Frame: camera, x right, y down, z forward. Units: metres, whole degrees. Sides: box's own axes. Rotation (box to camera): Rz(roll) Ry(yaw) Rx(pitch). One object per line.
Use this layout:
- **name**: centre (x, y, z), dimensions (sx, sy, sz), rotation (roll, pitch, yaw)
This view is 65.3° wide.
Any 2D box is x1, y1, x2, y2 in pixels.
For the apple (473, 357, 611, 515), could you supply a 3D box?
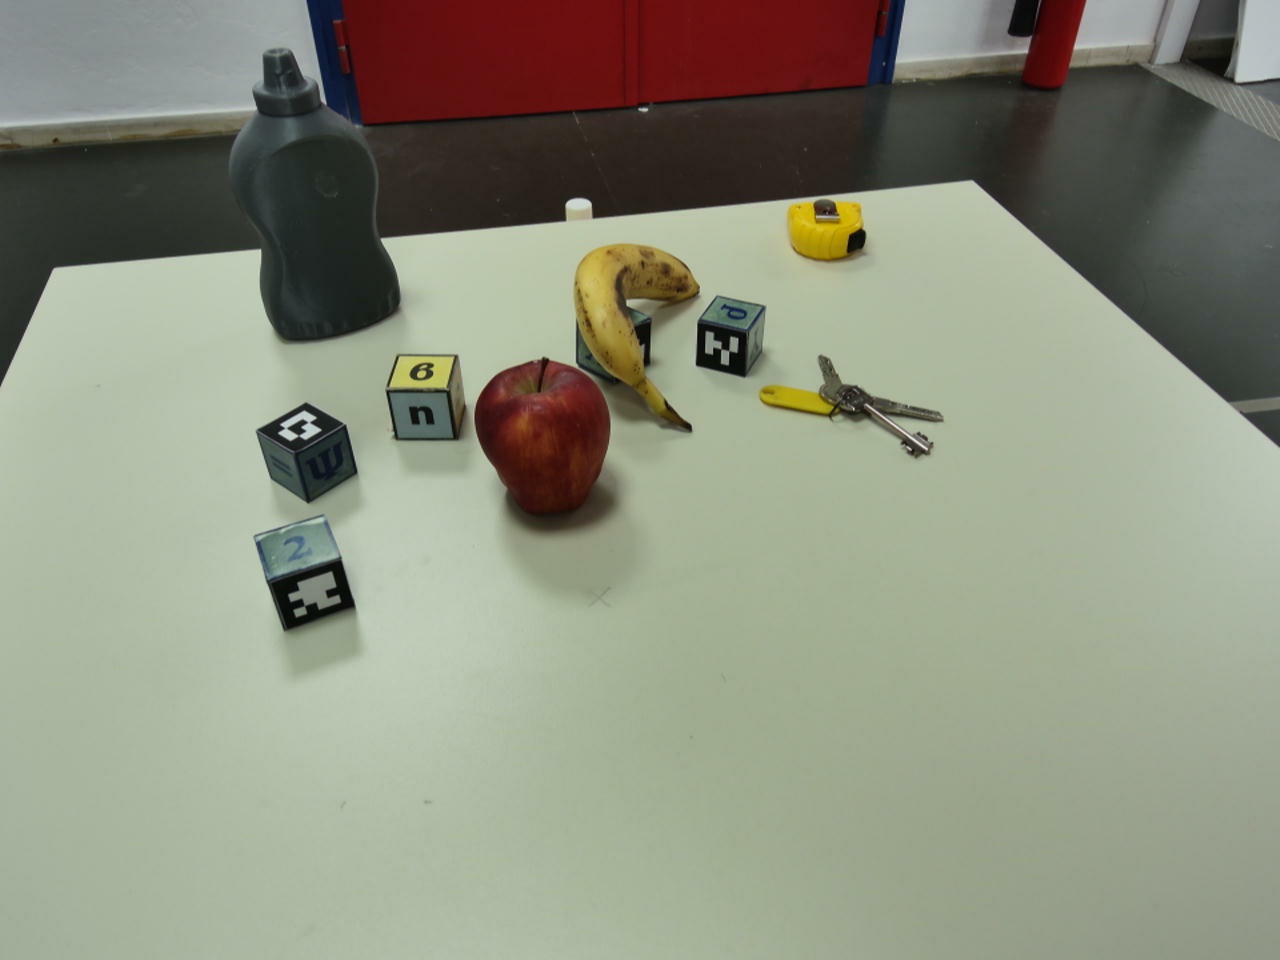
- **apple**: centre (-0.056, -0.030, 0.575), dimensions (0.083, 0.090, 0.083), rotation (0, 39, 0)
